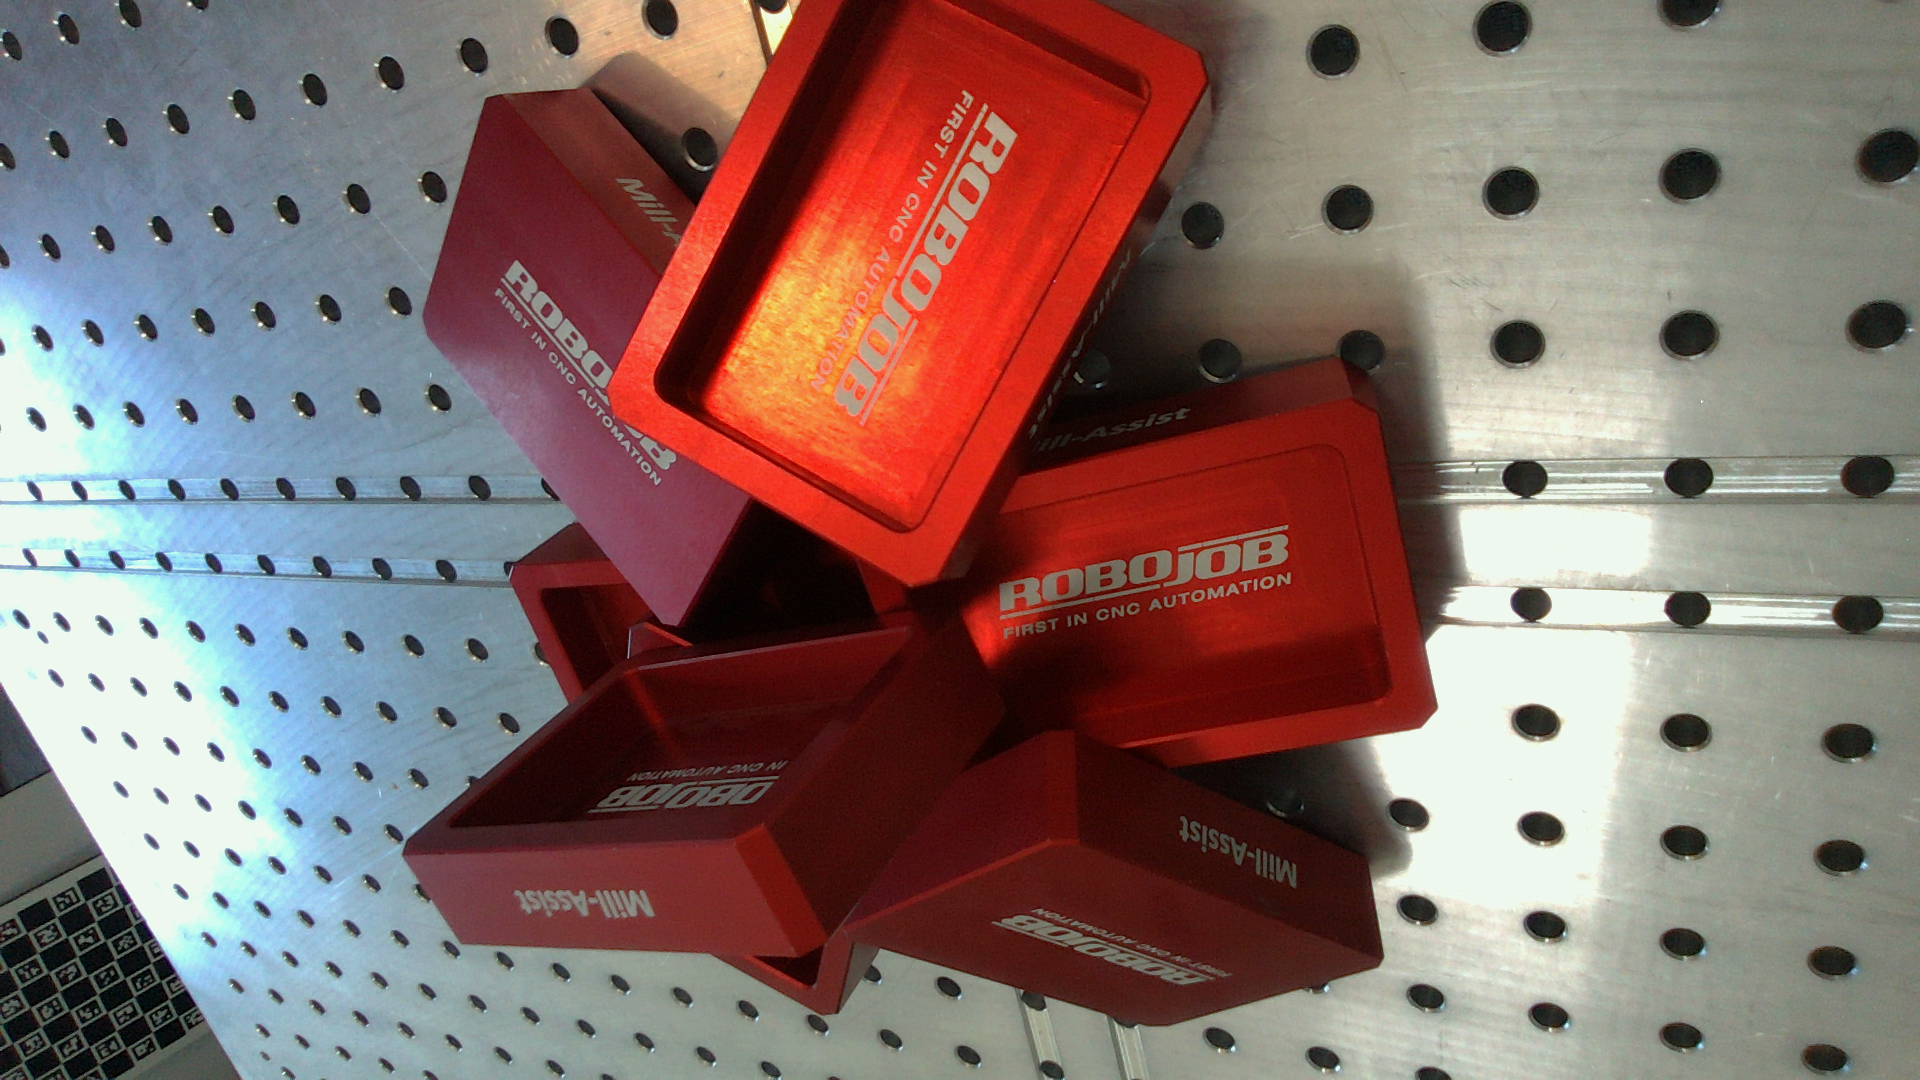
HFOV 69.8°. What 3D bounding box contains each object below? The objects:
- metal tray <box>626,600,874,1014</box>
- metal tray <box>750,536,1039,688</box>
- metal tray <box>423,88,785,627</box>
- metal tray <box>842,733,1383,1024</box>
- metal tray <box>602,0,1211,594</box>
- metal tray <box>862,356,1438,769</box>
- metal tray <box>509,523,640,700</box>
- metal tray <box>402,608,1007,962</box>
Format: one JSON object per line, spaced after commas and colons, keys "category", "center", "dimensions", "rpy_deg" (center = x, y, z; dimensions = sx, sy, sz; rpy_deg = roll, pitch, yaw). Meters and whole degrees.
{"category": "metal tray", "center": [-0.063, 0.084, 0.439], "dimensions": [0.090, 0.030, 0.130], "rpy_deg": [24, 127, 14]}
{"category": "metal tray", "center": [-0.019, 0.009, 0.408], "dimensions": [0.090, 0.030, 0.130], "rpy_deg": [-6, 114, 29]}
{"category": "metal tray", "center": [-0.096, -0.052, 0.391], "dimensions": [0.130, 0.030, 0.090], "rpy_deg": [48, 131, 14]}
{"category": "metal tray", "center": [0.044, 0.101, 0.389], "dimensions": [0.130, 0.030, 0.090], "rpy_deg": [27, 138, -32]}
{"category": "metal tray", "center": [-0.012, -0.064, 0.316], "dimensions": [0.090, 0.030, 0.130], "rpy_deg": [30, 95, 10]}
{"category": "metal tray", "center": [0.047, 0.013, 0.352], "dimensions": [0.130, 0.030, 0.090], "rpy_deg": [-12, 113, 15]}
{"category": "metal tray", "center": [-0.090, 0.055, 0.476], "dimensions": [0.090, 0.030, 0.130], "rpy_deg": [-5, 115, 30]}
{"category": "metal tray", "center": [-0.064, 0.059, 0.341], "dimensions": [0.129, 0.090, 0.030], "rpy_deg": [-11, 113, 37]}
